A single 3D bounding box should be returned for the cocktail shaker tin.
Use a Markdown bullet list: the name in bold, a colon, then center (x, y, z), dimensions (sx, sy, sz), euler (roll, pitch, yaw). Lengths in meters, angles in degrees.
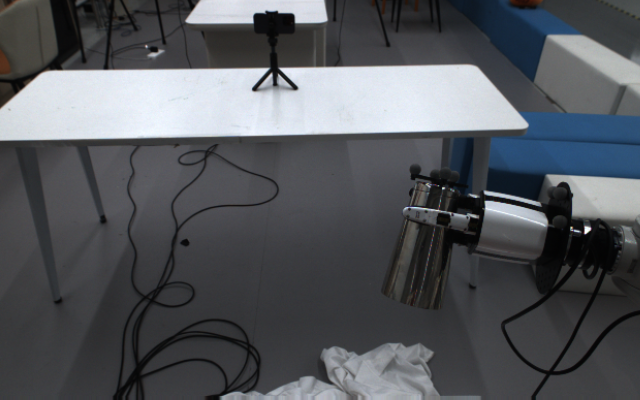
- **cocktail shaker tin**: center (0.155, 0.060, 0.712), dimensions (0.093, 0.170, 0.093), euler (13, 3, -1)
